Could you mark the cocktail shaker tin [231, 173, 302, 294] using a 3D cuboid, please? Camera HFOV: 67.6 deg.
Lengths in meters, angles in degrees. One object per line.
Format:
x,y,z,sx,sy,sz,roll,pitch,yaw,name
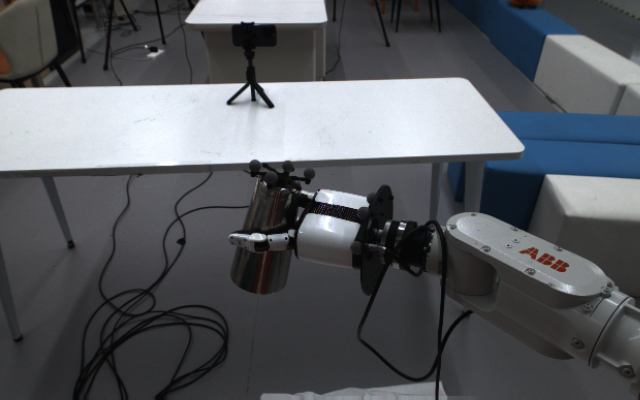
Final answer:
-0.076,0.046,0.739,0.093,0.170,0.093,12,24,-5,cocktail shaker tin
